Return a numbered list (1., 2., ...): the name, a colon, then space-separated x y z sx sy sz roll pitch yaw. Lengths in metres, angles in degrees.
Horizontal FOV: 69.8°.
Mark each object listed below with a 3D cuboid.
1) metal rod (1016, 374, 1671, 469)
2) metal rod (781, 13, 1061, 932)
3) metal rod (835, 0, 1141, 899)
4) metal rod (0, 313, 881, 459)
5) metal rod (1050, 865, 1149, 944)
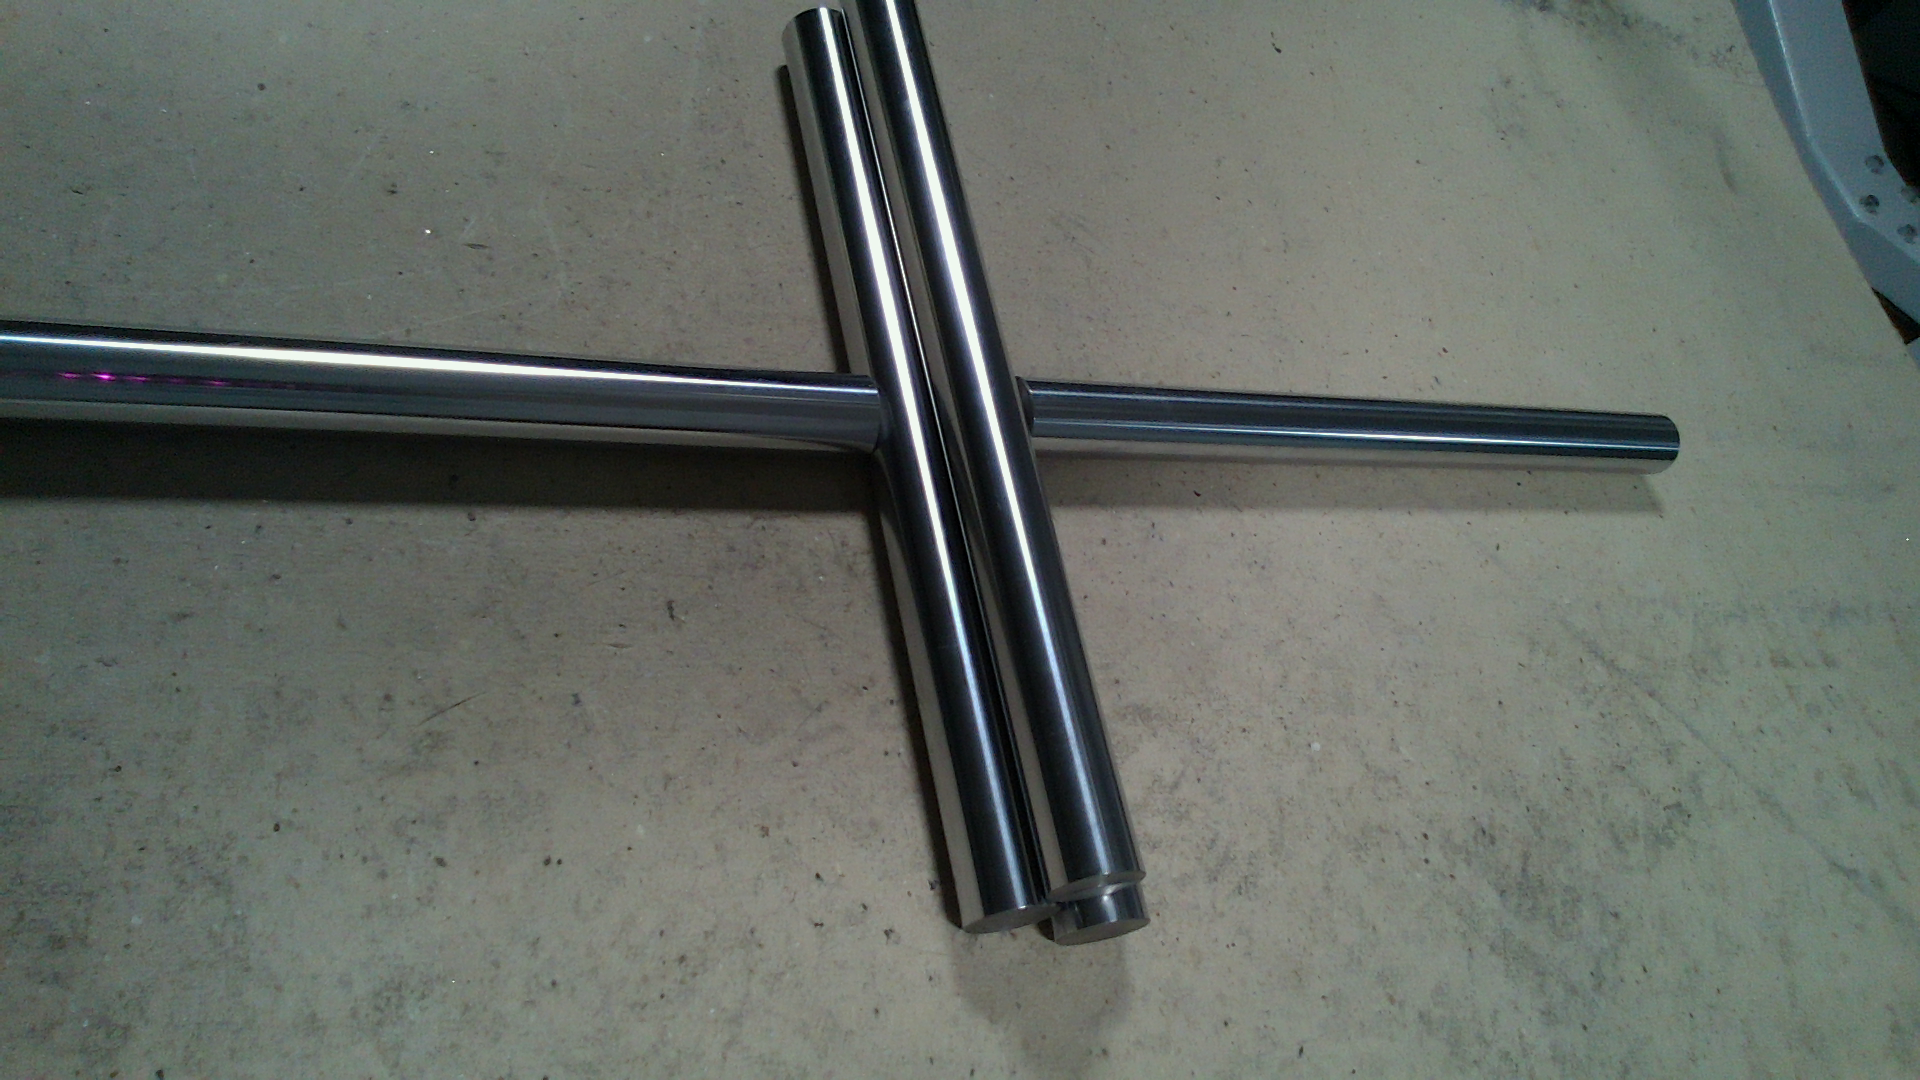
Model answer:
1. metal rod: 0.148 -0.039 0.493 0.301 0.025 0.025 0 62 -28
2. metal rod: -0.018 -0.038 0.404 0.025 0.025 0.300 1 61 -28
3. metal rod: 0.001 -0.049 0.395 0.025 0.025 0.300 1 61 -28
4. metal rod: -0.161 -0.037 0.326 0.301 0.025 0.025 0 61 -28
5. metal rod: 0.005 -0.033 0.414 0.025 0.025 0.300 1 61 -28
